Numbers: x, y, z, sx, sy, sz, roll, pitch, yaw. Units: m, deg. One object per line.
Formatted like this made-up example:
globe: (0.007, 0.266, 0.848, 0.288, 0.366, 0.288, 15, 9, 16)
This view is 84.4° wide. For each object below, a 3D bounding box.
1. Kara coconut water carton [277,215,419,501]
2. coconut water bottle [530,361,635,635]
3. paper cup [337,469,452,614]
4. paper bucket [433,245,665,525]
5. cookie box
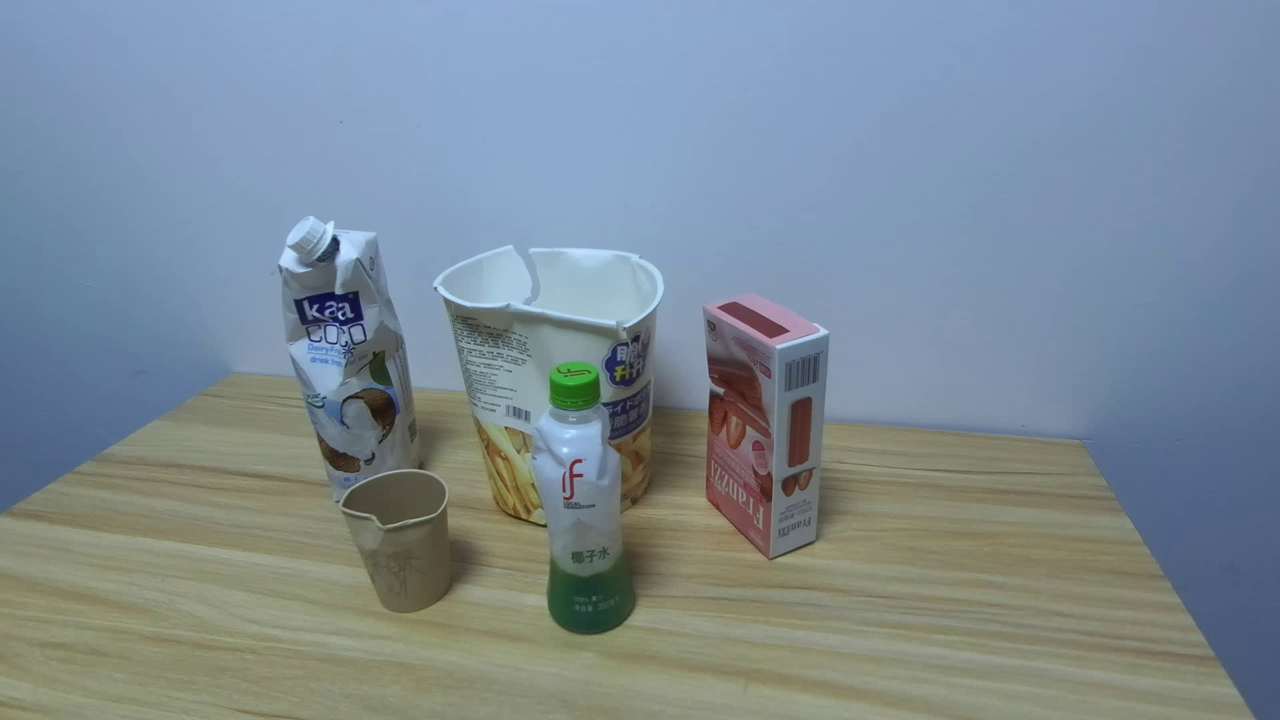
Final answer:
Kara coconut water carton: (-0.249, -0.001, 0.603, 0.083, 0.256, 0.078, 2, 29, 6)
coconut water bottle: (-0.037, 0.092, 0.468, 0.069, 0.186, 0.069, -2, 27, 1)
paper cup: (-0.172, 0.133, 0.516, 0.074, 0.081, 0.068, -13, 27, -23)
paper bucket: (-0.068, 0.017, 0.610, 0.202, 0.197, 0.146, 9, 28, 21)
cookie box: (0.091, 0.048, 0.549, 0.049, 0.188, 0.104, -15, 28, -23)
